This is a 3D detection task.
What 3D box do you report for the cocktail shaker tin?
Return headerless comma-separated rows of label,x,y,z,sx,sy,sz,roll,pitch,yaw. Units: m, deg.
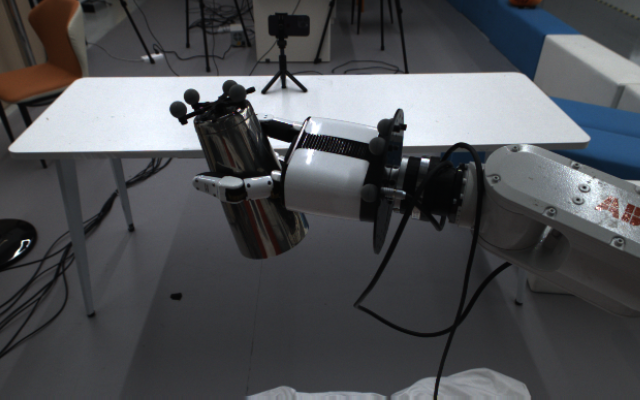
cocktail shaker tin,-0.082,-0.025,0.564,0.093,0.170,0.093,-15,28,8
